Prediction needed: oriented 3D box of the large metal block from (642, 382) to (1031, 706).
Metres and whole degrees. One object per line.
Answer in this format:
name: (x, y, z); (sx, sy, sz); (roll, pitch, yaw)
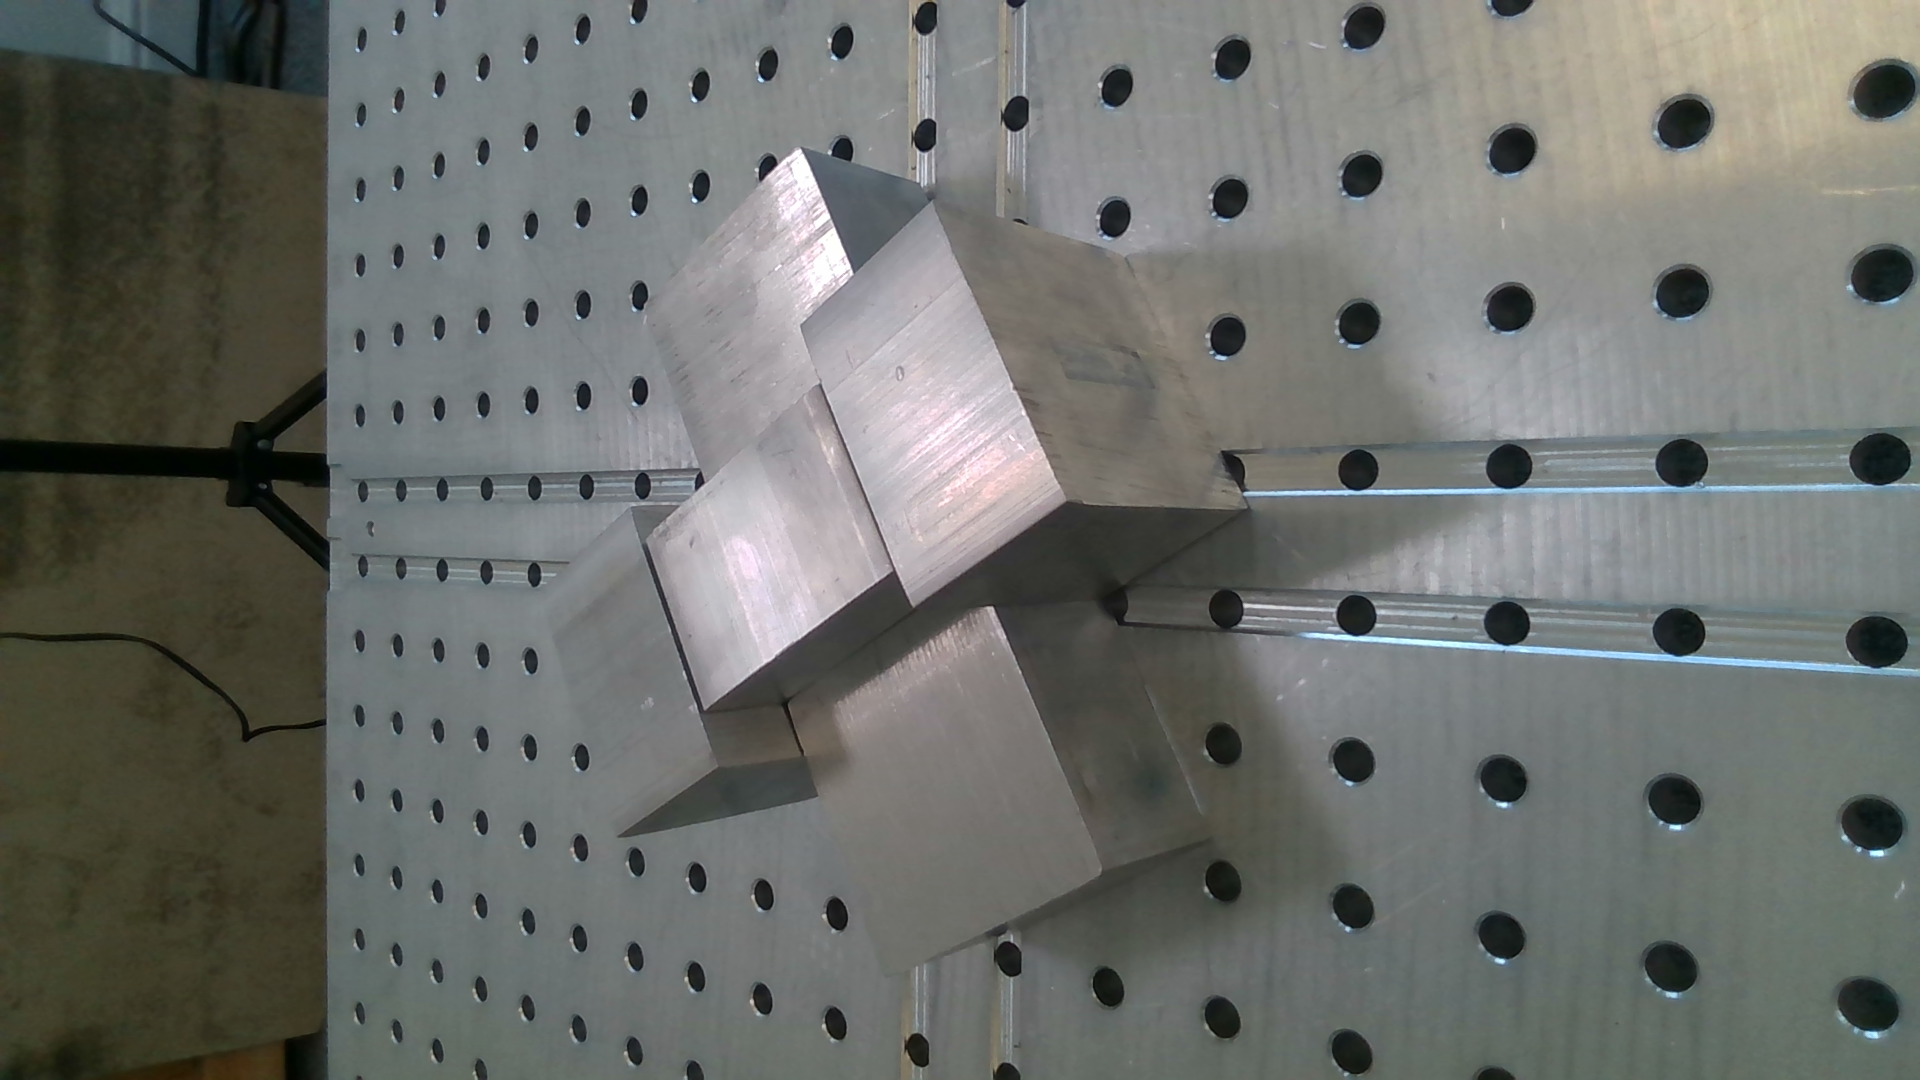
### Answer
large metal block: (-0.026, 0.003, 0.379); (0.080, 0.080, 0.050); (-36, 68, 35)

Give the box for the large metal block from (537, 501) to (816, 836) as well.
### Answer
large metal block: (-0.069, 0.036, 0.416); (0.050, 0.080, 0.080); (-36, 69, 34)

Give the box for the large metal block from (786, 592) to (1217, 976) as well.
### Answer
large metal block: (0.008, 0.060, 0.370); (0.080, 0.050, 0.080); (-37, 67, 36)

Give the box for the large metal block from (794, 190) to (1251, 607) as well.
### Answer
large metal block: (0.016, -0.032, 0.343); (0.050, 0.080, 0.080); (-35, 68, 34)

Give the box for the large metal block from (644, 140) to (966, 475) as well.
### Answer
large metal block: (-0.041, -0.057, 0.412); (0.080, 0.050, 0.080); (-33, 70, 35)
